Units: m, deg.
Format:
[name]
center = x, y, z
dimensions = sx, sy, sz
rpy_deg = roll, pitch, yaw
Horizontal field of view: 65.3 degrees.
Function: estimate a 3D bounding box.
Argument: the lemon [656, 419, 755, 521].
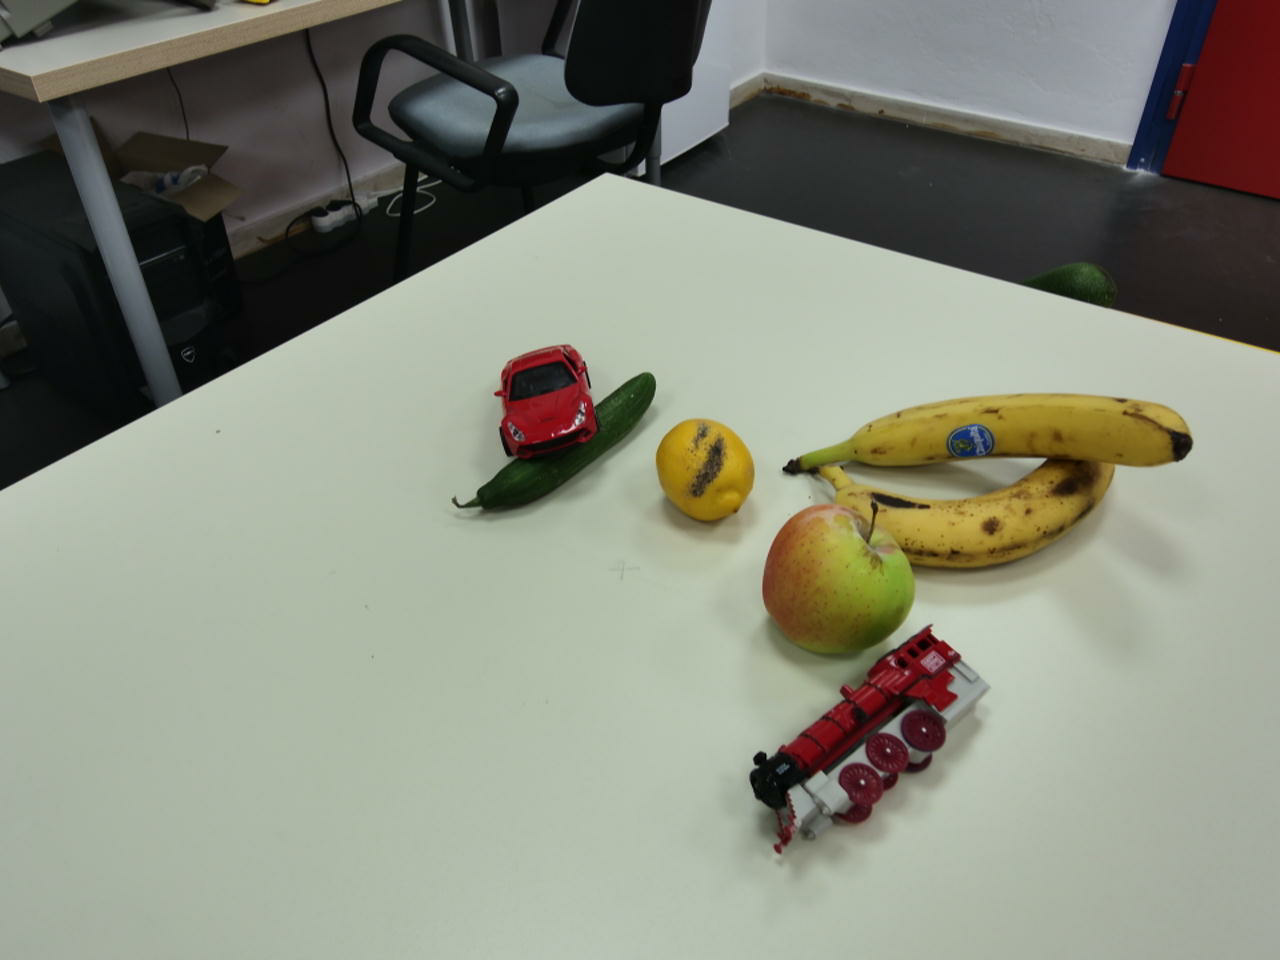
[lemon]
center = 0.039, -0.006, 0.596
dimensions = 0.061, 0.056, 0.058
rpy_deg = 19, 41, 23
